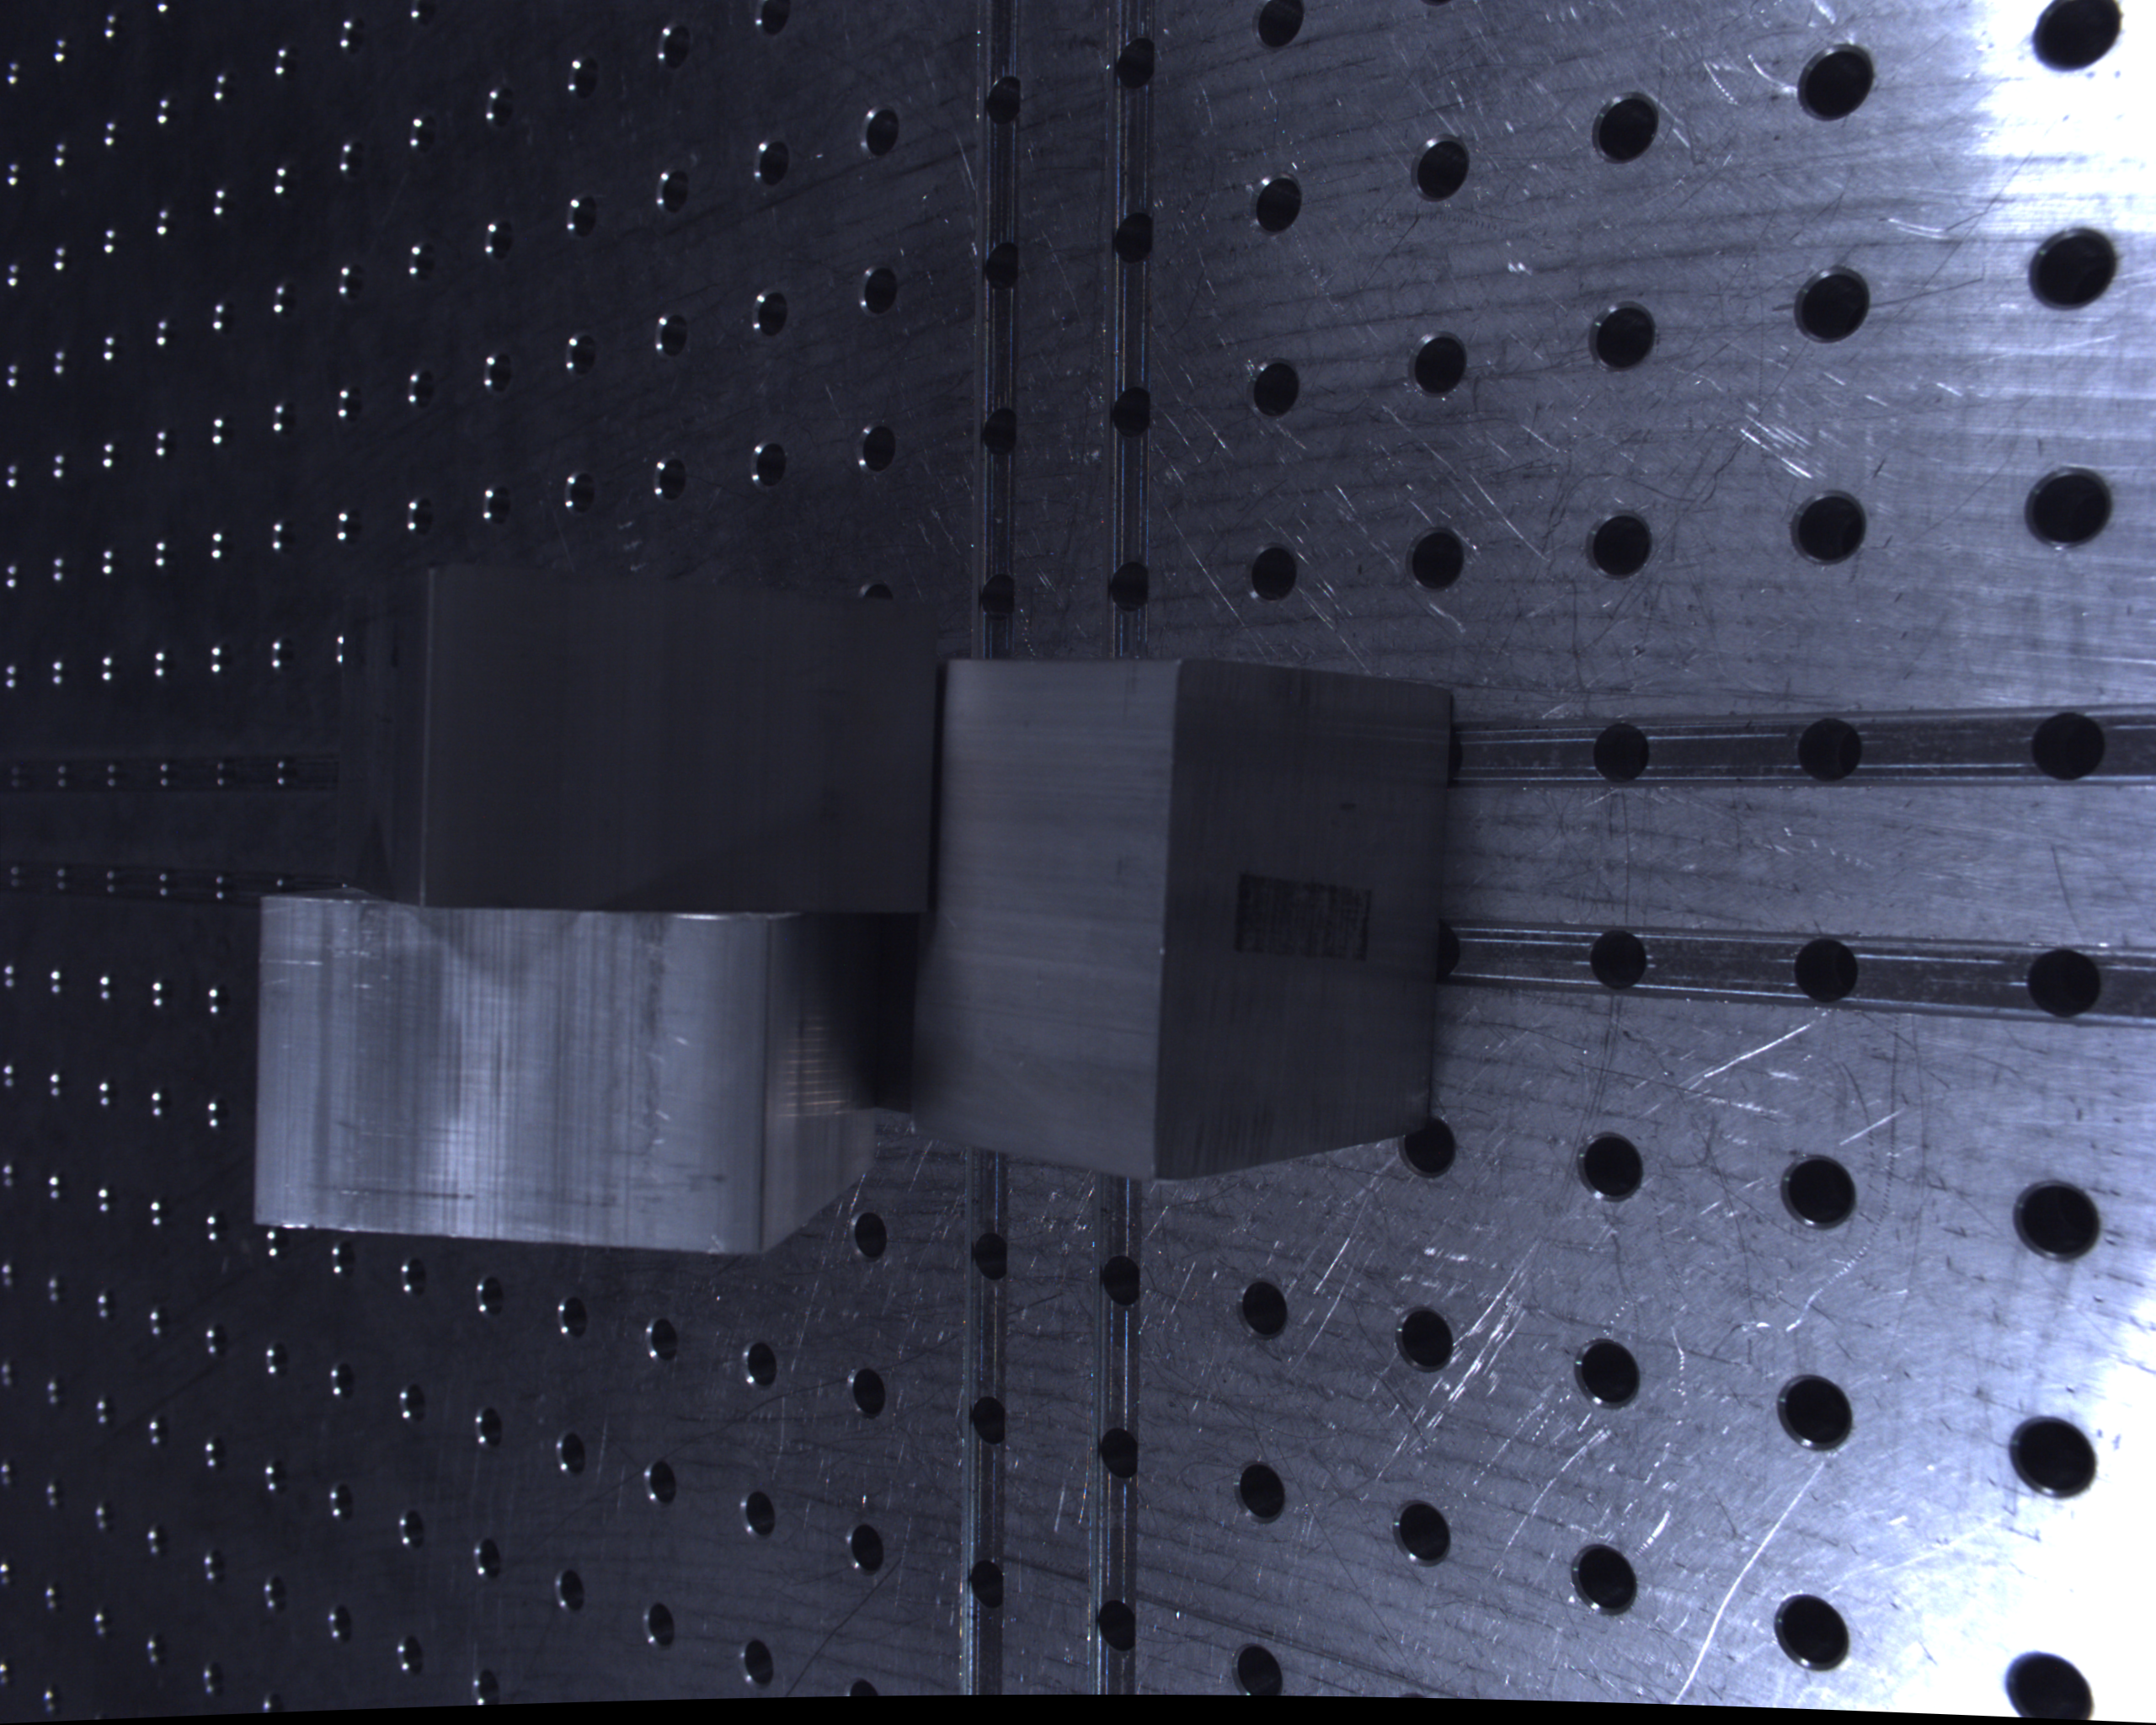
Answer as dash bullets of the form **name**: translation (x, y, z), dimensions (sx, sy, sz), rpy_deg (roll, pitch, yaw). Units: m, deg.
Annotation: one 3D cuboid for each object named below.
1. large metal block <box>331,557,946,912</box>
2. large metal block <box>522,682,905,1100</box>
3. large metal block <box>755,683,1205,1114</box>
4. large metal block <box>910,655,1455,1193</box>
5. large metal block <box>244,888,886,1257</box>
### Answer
- **large metal block**: translation (-0.077, -0.020, 0.351), dimensions (0.080, 0.081, 0.050), rpy_deg (6, 93, 62)
- **large metal block**: translation (-0.082, 0.004, 0.439), dimensions (0.050, 0.081, 0.079), rpy_deg (3, 92, 40)
- **large metal block**: translation (-0.022, 0.004, 0.406), dimensions (0.080, 0.050, 0.079), rpy_deg (4, 92, 39)
- **large metal block**: translation (0.020, 0.008, 0.355), dimensions (0.050, 0.081, 0.079), rpy_deg (5, 93, 39)
- **large metal block**: translation (-0.081, 0.030, 0.351), dimensions (0.080, 0.080, 0.050), rpy_deg (3, 92, 6)
